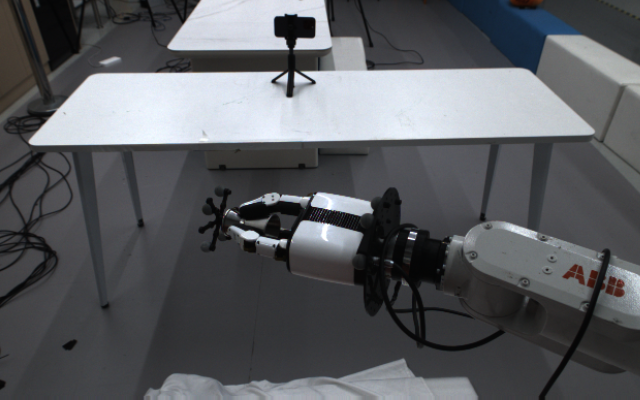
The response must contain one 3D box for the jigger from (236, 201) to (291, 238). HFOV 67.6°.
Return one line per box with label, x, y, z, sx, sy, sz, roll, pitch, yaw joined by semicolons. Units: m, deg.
jigger;-0.088;0.033;0.657;0.071;0.043;0.043;10;35;22
